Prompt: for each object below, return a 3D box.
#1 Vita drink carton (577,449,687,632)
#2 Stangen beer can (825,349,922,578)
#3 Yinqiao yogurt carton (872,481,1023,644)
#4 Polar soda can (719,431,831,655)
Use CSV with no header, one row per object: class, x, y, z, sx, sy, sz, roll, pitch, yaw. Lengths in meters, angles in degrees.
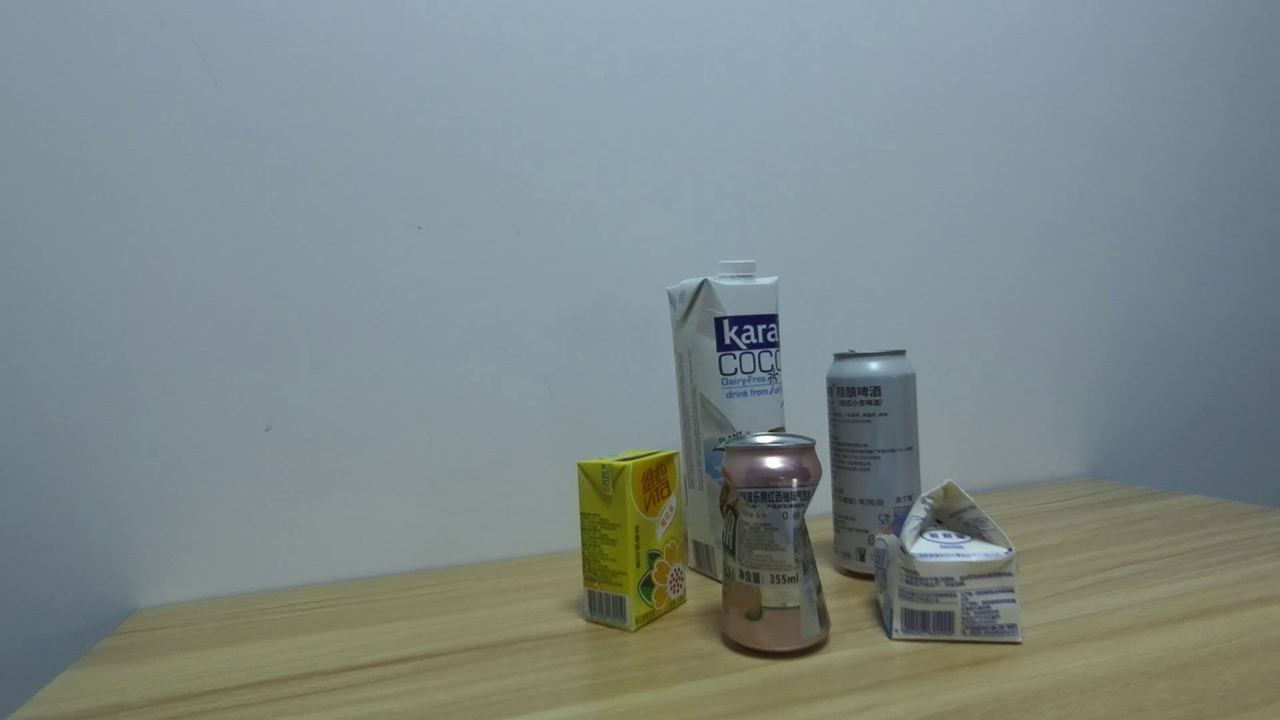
Vita drink carton,-0.003,0.118,0.482,0.043,0.109,0.067,-2,1,37
Stangen beer can,0.180,0.078,0.543,0.067,0.171,0.067,-3,-2,0
Yinqiao yogurt carton,0.185,0.117,0.432,0.077,0.093,0.083,-2,-3,13
Polar soda can,0.081,0.109,0.425,0.074,0.121,0.067,-2,-3,-40
